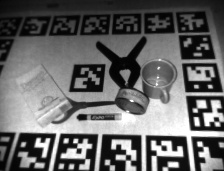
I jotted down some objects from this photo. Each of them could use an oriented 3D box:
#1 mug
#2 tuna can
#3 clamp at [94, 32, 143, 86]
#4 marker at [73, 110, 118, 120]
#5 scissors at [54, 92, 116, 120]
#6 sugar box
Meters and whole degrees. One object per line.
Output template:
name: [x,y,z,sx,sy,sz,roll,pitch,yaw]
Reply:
mug: [0.116,-0.011,0.593,0.093,0.082,0.116,-25,58,-8]
tuna can: [0.054,0.034,0.569,0.085,0.086,0.034,14,64,14]
clamp: [0.033,-0.075,0.670,0.165,0.037,0.201,-9,62,0]
marker: [-0.045,0.081,0.590,0.121,0.020,0.019,-4,62,4]
scissors: [-0.089,0.044,0.611,0.203,0.016,0.087,-9,57,-2]
sugar box: [-0.196,0.018,0.617,0.093,0.046,0.174,-33,58,-12]
